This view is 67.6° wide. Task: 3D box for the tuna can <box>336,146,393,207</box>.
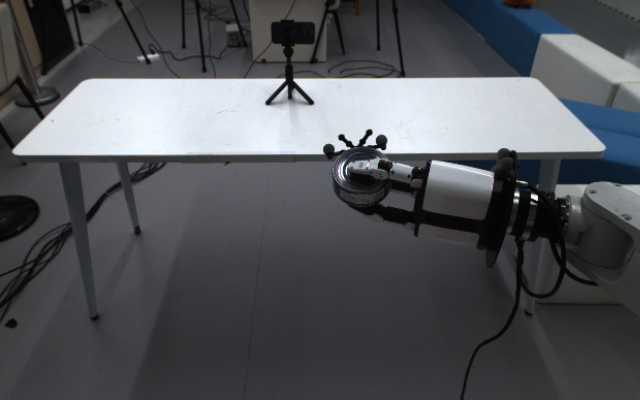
[{"bbox_3d":[0.065,-0.028,0.691,0.085,0.034,0.085,-3,59,5],"label":"tuna can"}]
